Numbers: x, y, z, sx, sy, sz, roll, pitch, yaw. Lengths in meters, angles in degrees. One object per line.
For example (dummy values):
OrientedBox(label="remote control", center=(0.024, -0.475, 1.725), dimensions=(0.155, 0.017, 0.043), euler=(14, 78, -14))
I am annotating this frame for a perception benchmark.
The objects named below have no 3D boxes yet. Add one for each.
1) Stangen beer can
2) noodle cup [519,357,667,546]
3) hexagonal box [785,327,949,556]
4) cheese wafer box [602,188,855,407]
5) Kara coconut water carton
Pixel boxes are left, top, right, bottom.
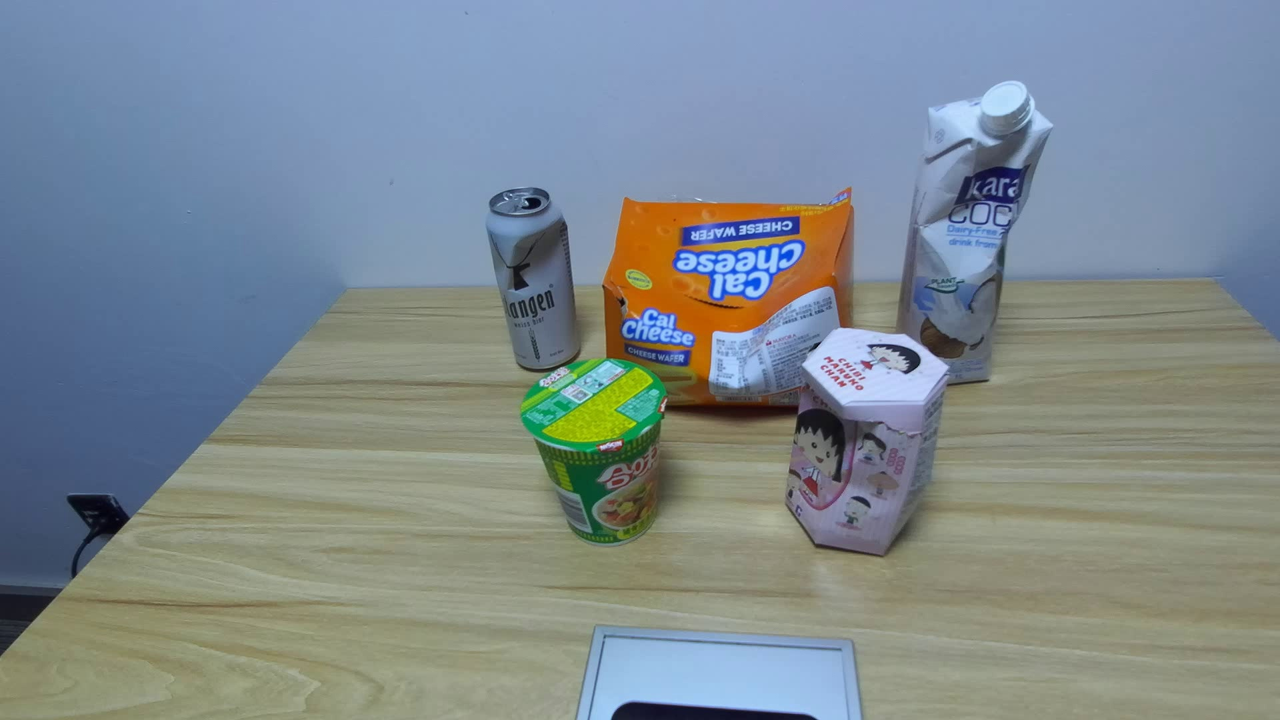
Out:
OrientedBox(label="Stangen beer can", center=(-0.098, -0.073, 0.663), dimensions=(0.070, 0.173, 0.069), euler=(1, 35, 11))
OrientedBox(label="noodle cup", center=(-0.027, 0.071, 0.500), dimensions=(0.097, 0.110, 0.097), euler=(-3, 35, 3))
OrientedBox(label="hexagonal box", center=(0.150, 0.055, 0.476), dimensions=(0.090, 0.135, 0.091), euler=(8, 37, 16))
OrientedBox(label="cheese wafer box", center=(0.082, -0.049, 0.625), dimensions=(0.218, 0.145, 0.191), euler=(1, 36, 10))
OrientedBox(label="Kara coconut water carton", center=(0.259, -0.096, 0.569), dimensions=(0.083, 0.256, 0.078), euler=(1, 37, 10))
